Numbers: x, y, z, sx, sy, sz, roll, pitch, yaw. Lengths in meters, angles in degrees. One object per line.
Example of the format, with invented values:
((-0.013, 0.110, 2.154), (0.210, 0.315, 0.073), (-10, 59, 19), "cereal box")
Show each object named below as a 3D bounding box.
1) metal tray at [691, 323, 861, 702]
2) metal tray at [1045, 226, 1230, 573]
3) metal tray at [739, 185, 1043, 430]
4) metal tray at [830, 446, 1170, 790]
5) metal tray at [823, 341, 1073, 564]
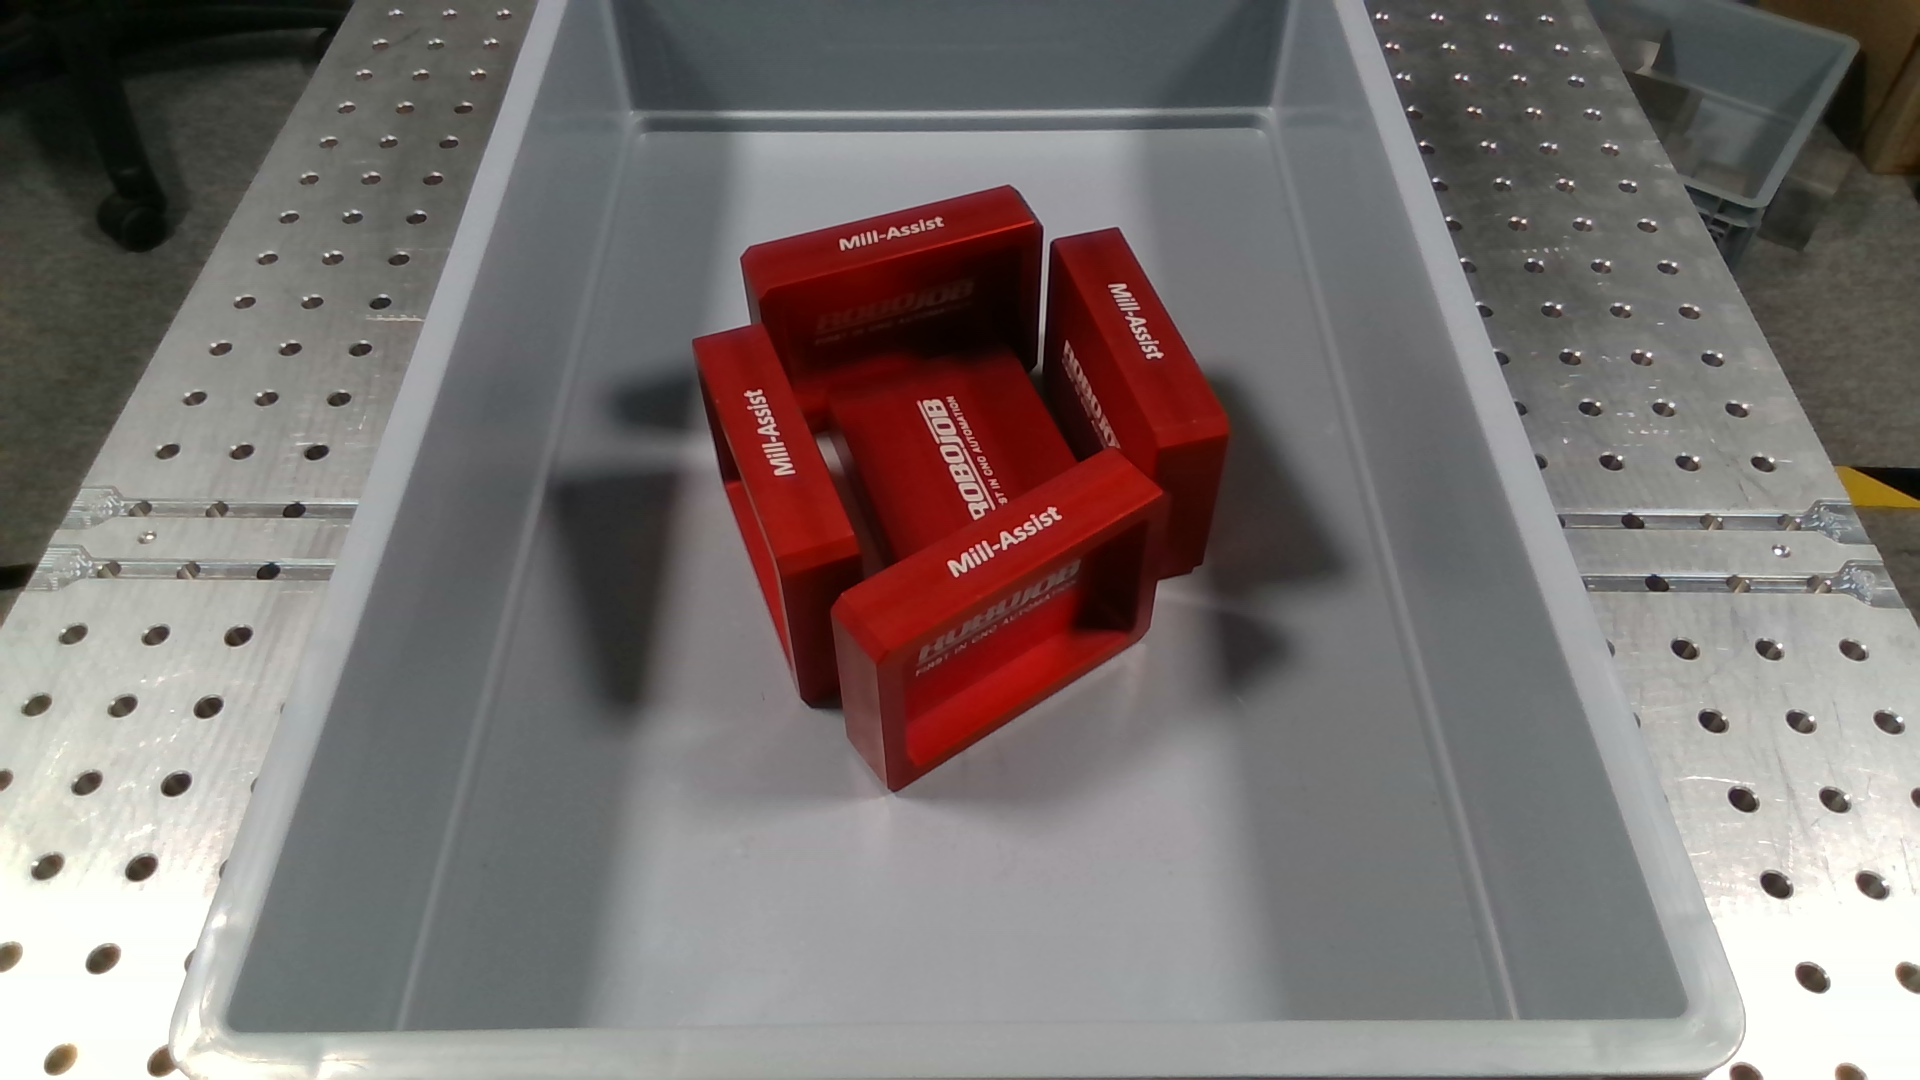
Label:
((-0.072, -0.012, 0.553), (0.030, 0.090, 0.130), (-16, 52, -13), "metal tray")
((0.071, -0.060, 0.593), (0.030, 0.090, 0.130), (-13, 51, -10), "metal tray")
((-0.029, -0.103, 0.629), (0.130, 0.090, 0.030), (-17, 52, -13), "metal tray")
((0.016, 0.030, 0.518), (0.130, 0.090, 0.030), (-29, 55, -22), "metal tray")
((0.002, -0.026, 0.603), (0.090, 0.030, 0.130), (-16, 52, -13), "metal tray")
